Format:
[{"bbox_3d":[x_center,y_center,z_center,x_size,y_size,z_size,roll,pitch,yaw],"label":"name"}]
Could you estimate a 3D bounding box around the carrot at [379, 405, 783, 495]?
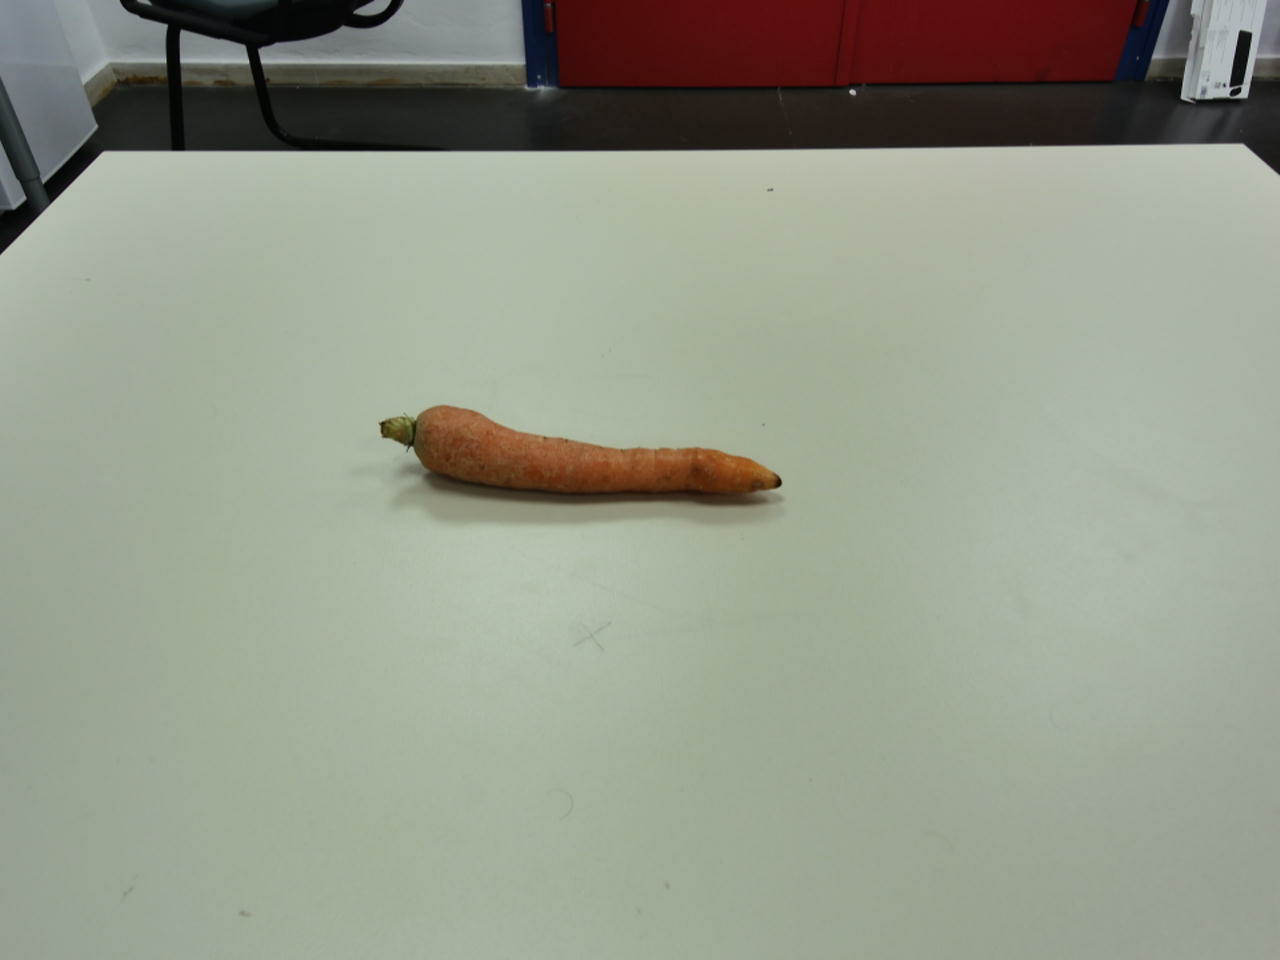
[{"bbox_3d":[-0.026,-0.010,0.425,0.173,0.032,0.030,6,39,7],"label":"carrot"}]
